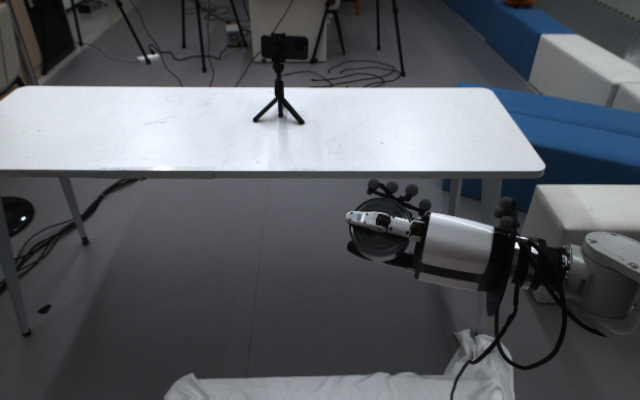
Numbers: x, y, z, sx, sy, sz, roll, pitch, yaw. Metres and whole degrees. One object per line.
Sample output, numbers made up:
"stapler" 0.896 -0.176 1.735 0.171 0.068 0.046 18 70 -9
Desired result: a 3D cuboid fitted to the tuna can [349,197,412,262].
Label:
"tuna can" 0.085 0.036 0.674 0.085 0.034 0.085 -4 66 10
